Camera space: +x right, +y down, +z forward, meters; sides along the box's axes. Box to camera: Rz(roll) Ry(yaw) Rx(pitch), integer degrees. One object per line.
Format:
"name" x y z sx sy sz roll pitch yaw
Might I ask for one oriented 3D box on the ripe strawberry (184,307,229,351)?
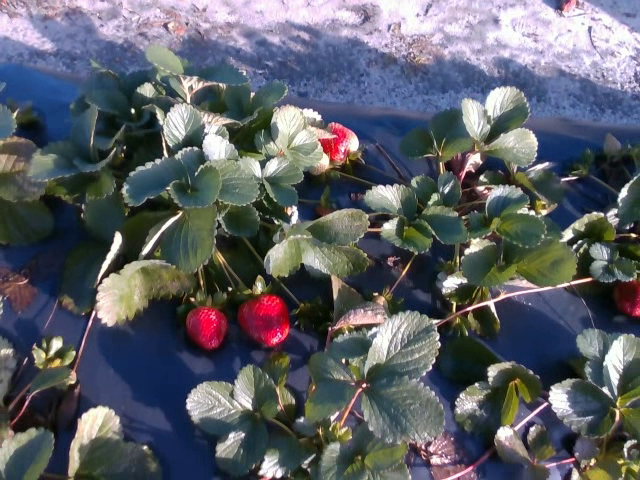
"ripe strawberry" -0.102 0.082 0.546 0.043 0.052 0.037 -39 -39 3

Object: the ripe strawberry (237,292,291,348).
"ripe strawberry" -0.047 0.077 0.557 0.052 0.058 0.046 -30 -41 2
